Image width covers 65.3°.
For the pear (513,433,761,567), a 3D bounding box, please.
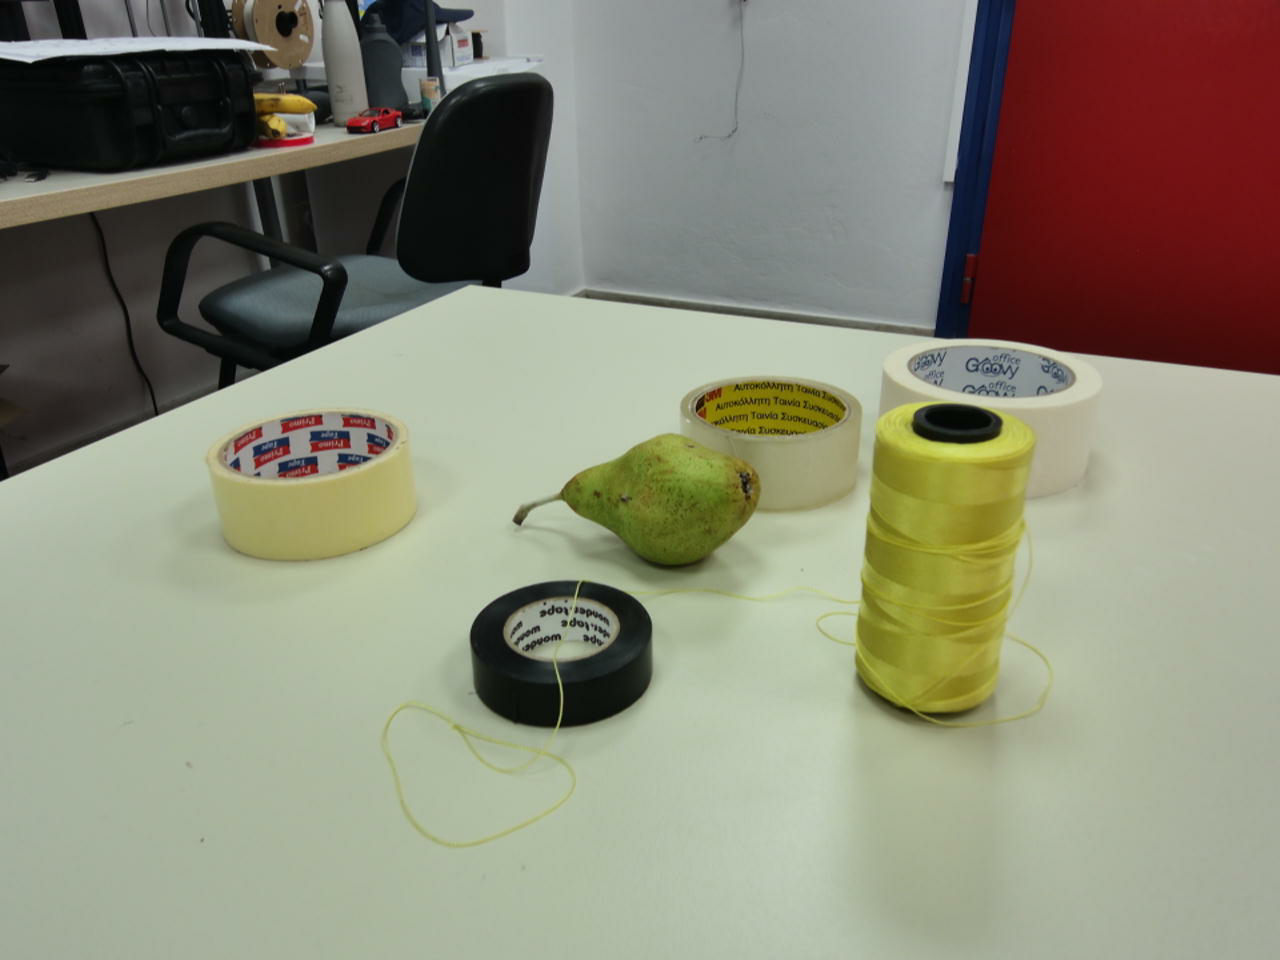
[{"bbox_3d":[0.000,0.004,0.443,0.111,0.056,0.056,19,30,37],"label":"pear"}]
